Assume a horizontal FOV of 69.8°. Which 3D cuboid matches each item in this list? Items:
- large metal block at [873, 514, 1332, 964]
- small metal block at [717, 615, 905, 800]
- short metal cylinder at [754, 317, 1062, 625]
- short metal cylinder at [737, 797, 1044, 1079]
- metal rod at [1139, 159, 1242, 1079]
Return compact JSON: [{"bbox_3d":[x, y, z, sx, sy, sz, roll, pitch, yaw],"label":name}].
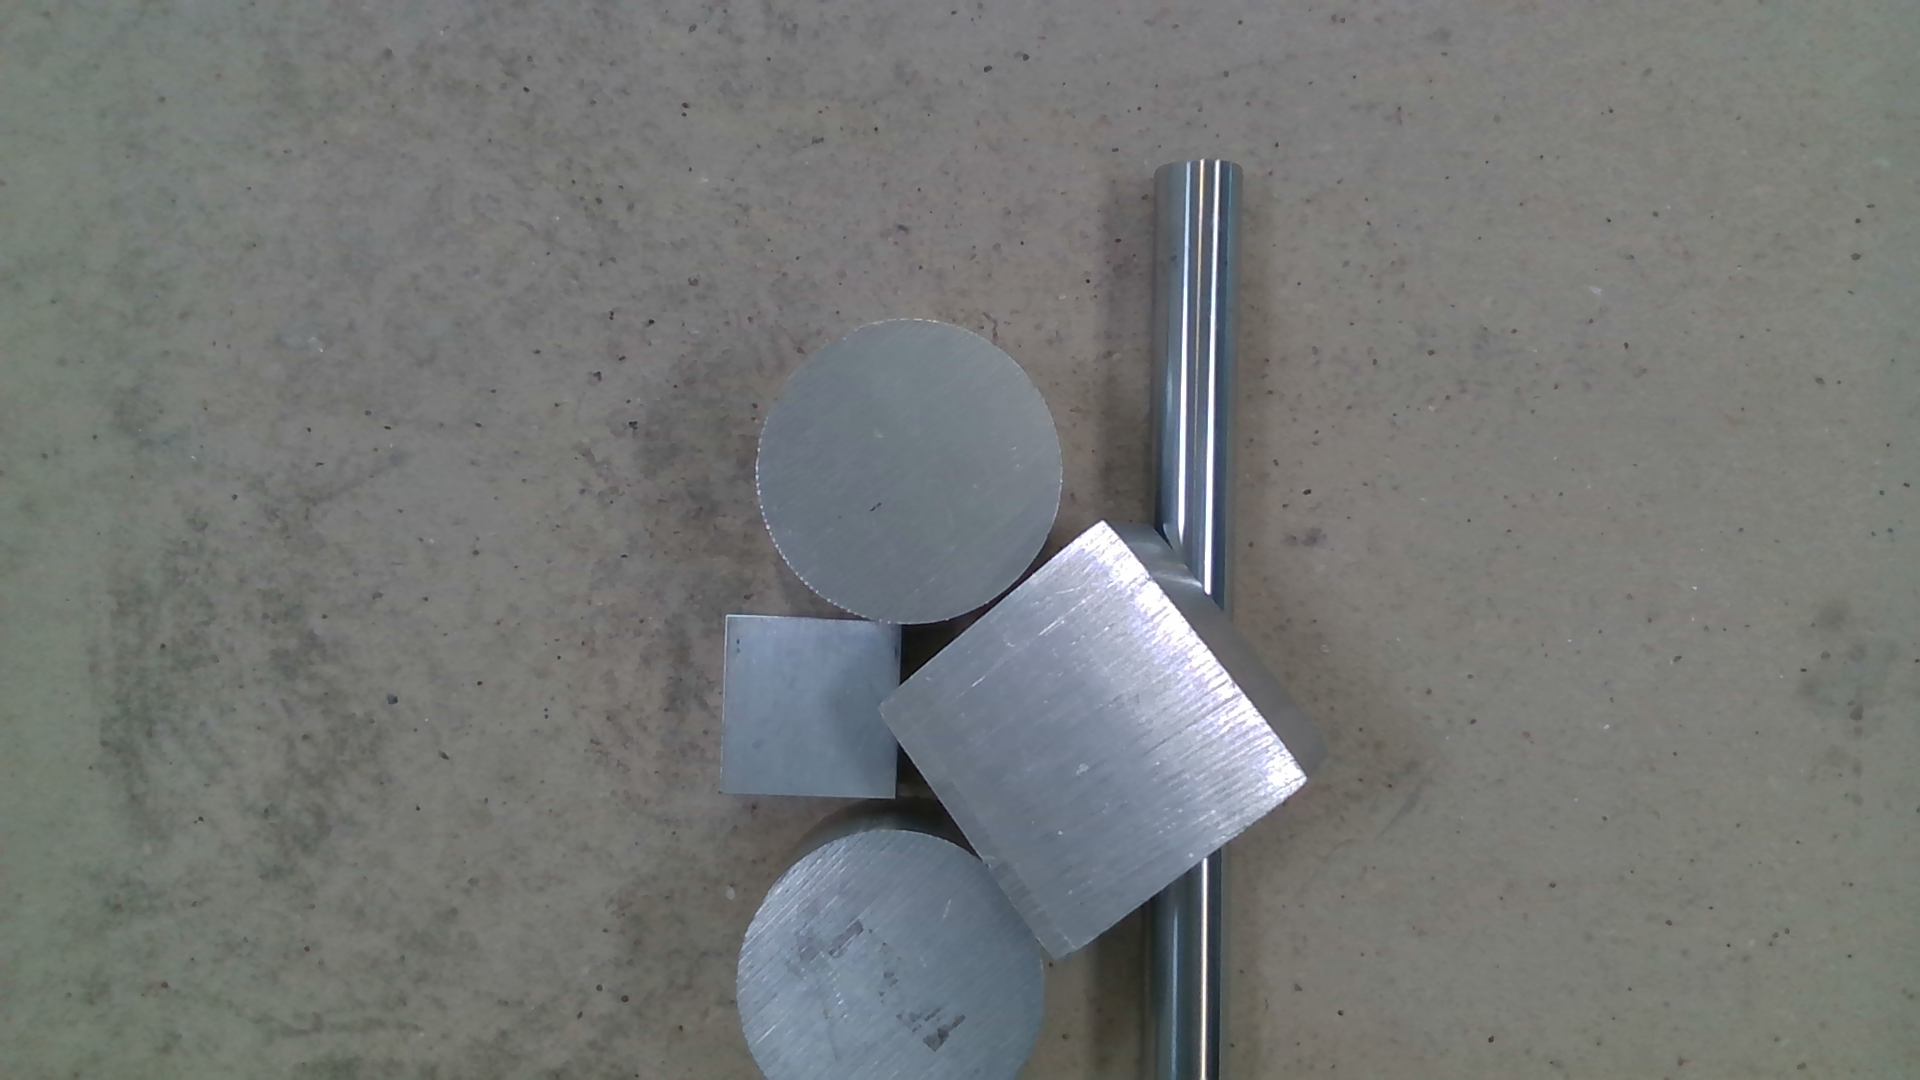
[{"bbox_3d":[0.039,0.050,0.366,0.080,0.050,0.080,-41,76,16],"label":"large metal block"},{"bbox_3d":[-0.042,0.047,0.396,0.050,0.025,0.050,2,90,0],"label":"small metal block"},{"bbox_3d":[-0.013,-0.018,0.382,0.080,0.050,0.080,0,90,0],"label":"short metal cylinder"},{"bbox_3d":[-0.018,0.116,0.383,0.080,0.050,0.080,0,90,0],"label":"short metal cylinder"},{"bbox_3d":[0.066,0.044,0.395,0.025,0.025,0.300,1,90,0],"label":"metal rod"}]
